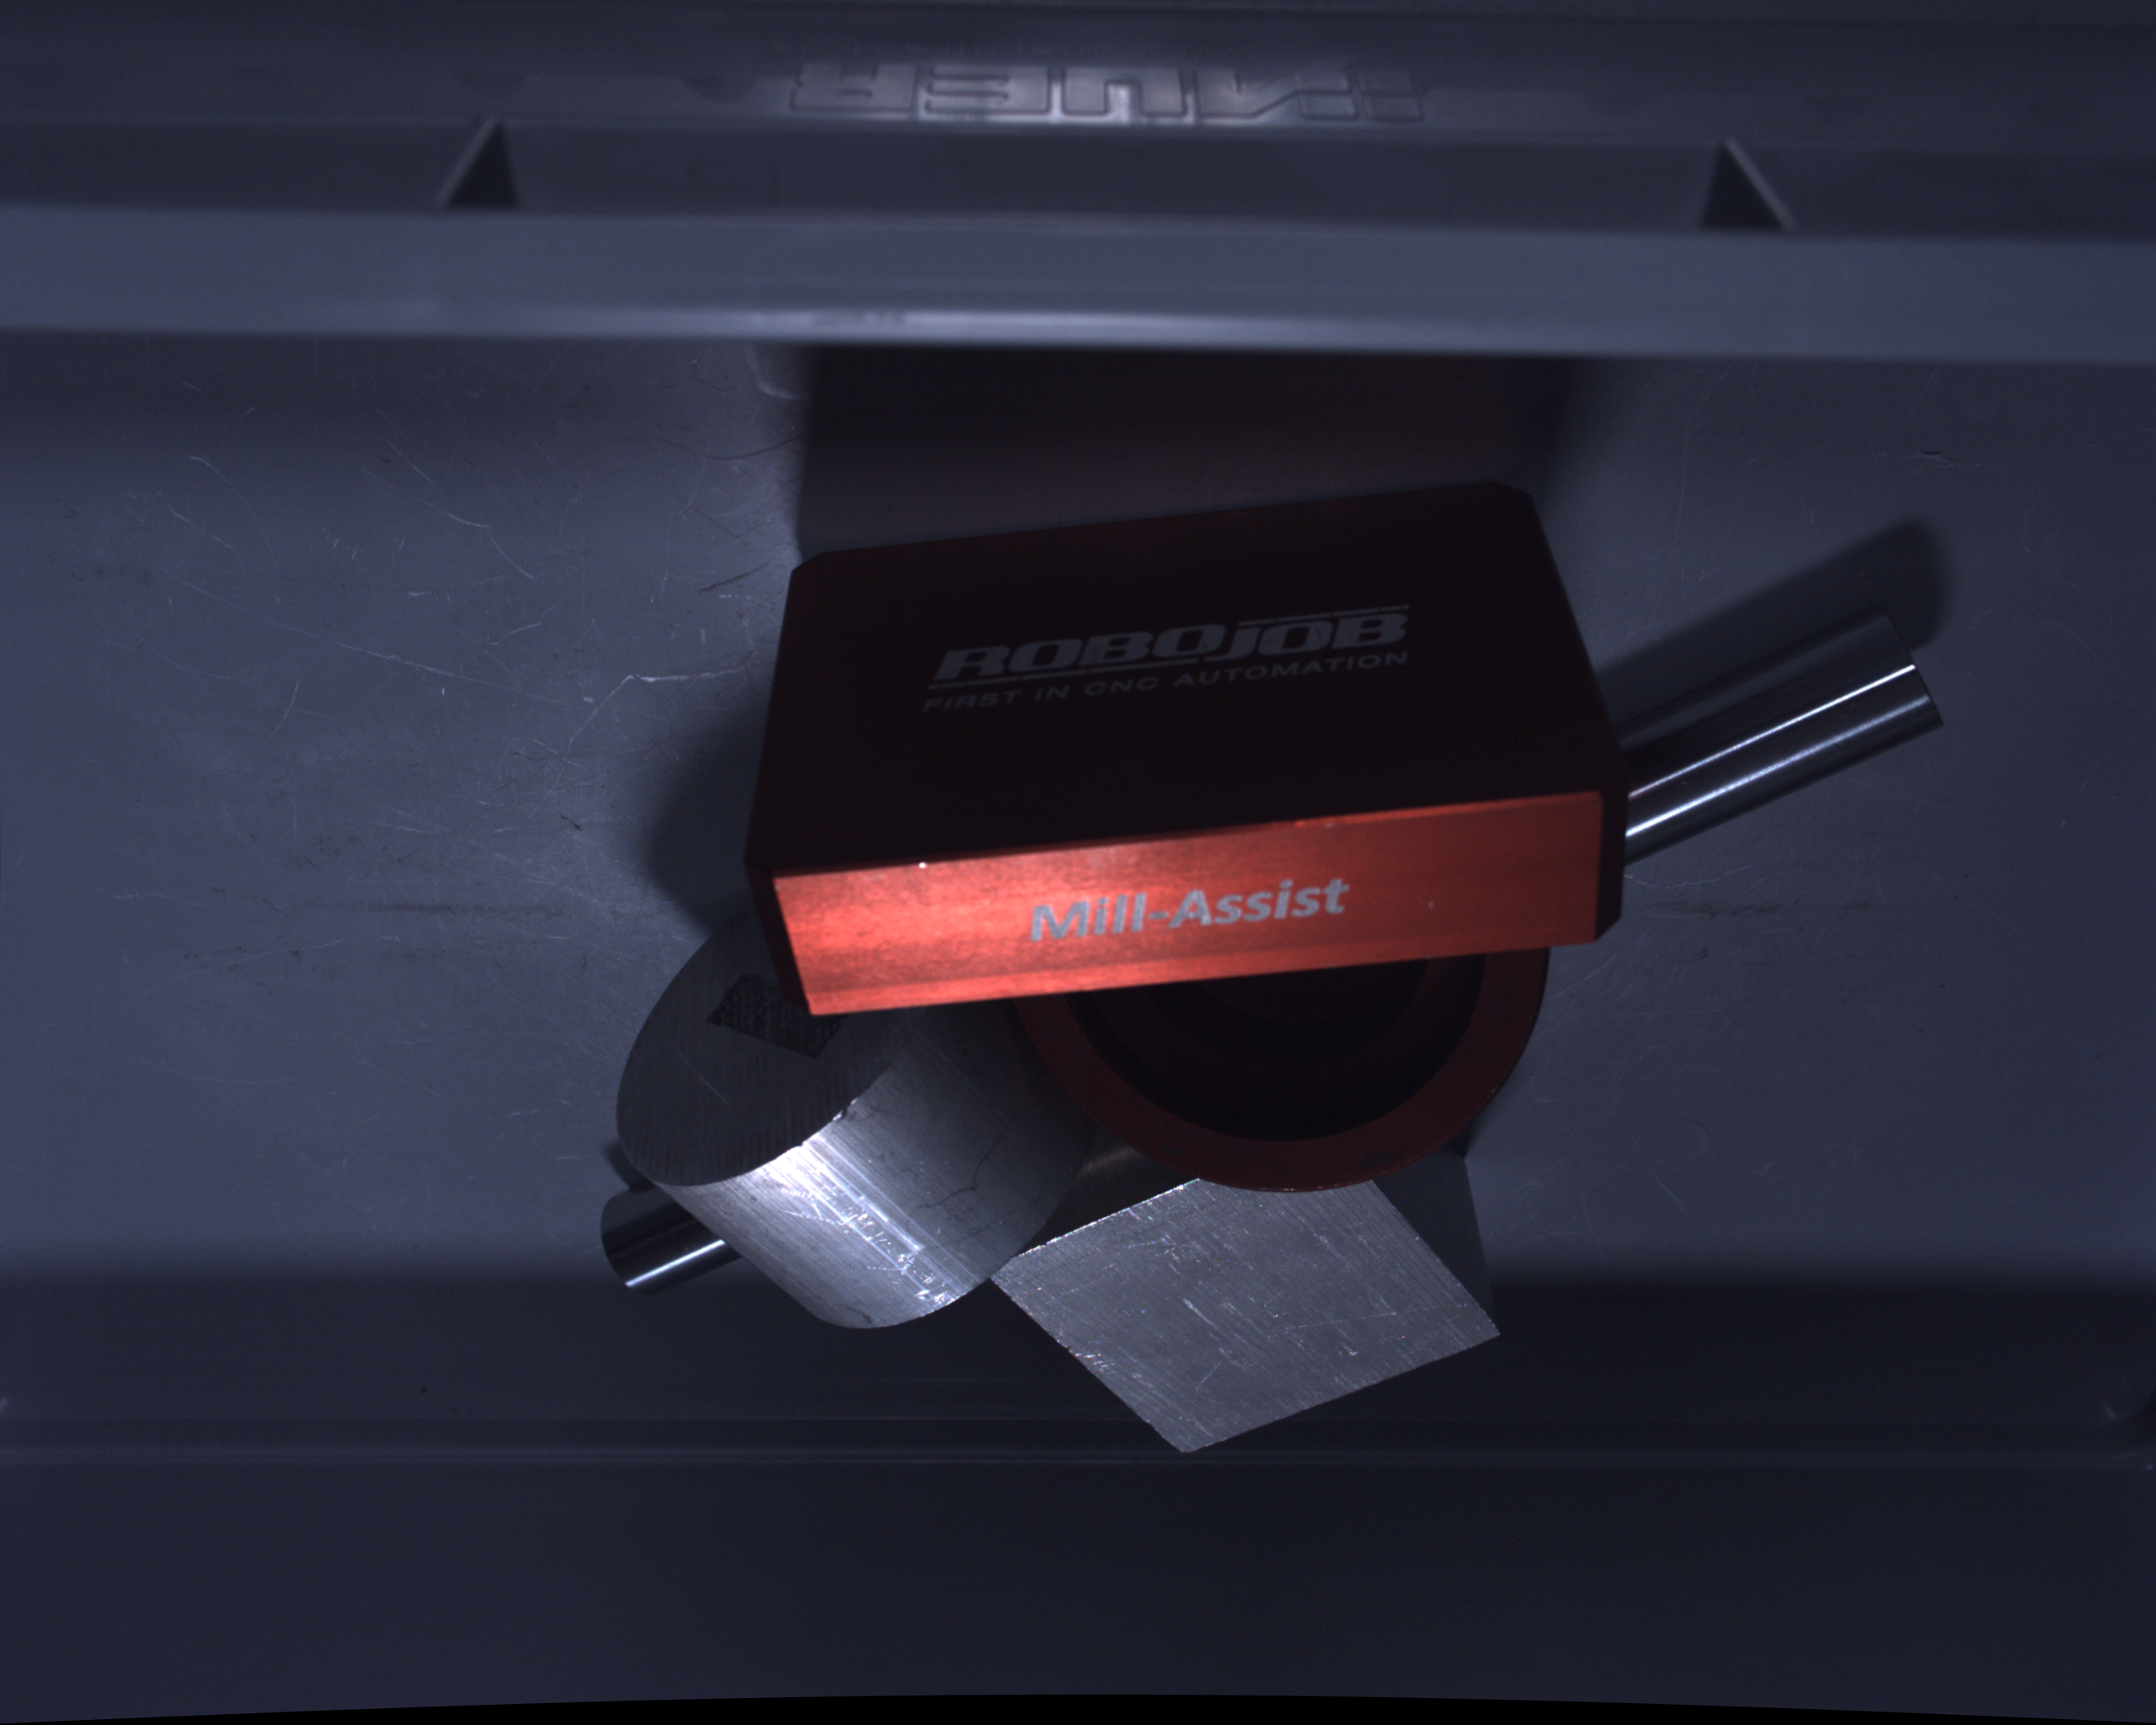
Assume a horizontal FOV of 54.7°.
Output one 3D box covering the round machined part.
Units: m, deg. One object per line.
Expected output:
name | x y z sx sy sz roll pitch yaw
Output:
round machined part | 0.038 0.008 0.385 0.098 0.042 0.097 4 106 14

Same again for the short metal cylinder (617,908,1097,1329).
short metal cylinder | -0.042 0.043 0.407 0.080 0.080 0.050 -27 125 20

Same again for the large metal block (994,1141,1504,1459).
large metal block | 0.035 0.077 0.455 0.080 0.050 0.080 -26 126 20

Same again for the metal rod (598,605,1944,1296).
metal rod | 0.025 0.026 0.430 0.300 0.025 0.025 -26 126 20

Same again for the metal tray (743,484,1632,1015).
metal tray | 0.016 -0.021 0.345 0.131 0.090 0.030 -5 130 3
